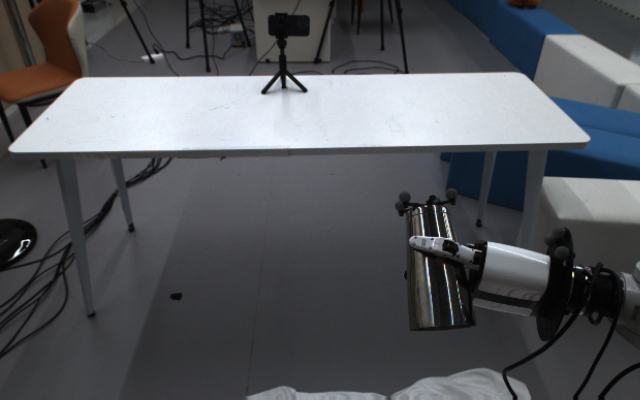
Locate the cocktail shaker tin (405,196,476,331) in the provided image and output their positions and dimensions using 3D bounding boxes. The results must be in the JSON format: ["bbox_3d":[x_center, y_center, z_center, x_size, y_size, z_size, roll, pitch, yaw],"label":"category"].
[{"bbox_3d":[0.165,0.097,0.695,0.093,0.093,0.170,-2,70,-5],"label":"cocktail shaker tin"}]
